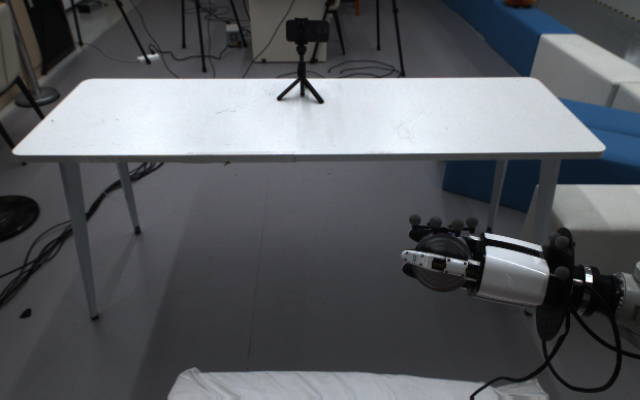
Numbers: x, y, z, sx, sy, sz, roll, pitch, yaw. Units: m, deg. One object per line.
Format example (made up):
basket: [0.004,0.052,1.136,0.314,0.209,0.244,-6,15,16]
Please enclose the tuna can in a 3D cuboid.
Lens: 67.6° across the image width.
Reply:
tuna can: [0.180,0.086,0.703,0.085,0.085,0.034,13,7,15]
